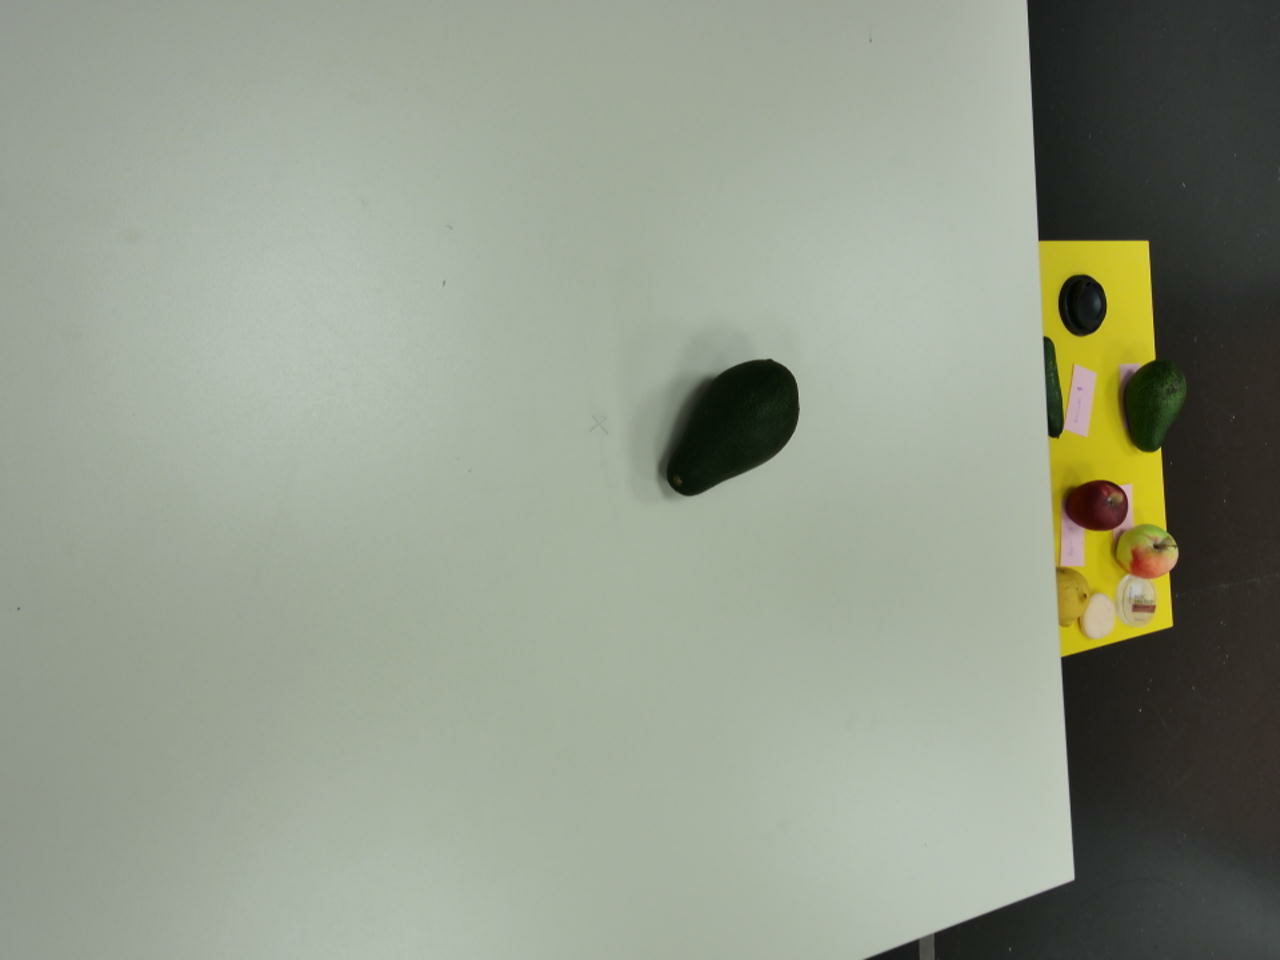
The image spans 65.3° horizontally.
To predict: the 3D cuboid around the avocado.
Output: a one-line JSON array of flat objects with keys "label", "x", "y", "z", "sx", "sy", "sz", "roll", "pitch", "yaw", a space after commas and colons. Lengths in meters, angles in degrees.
[{"label": "avocado", "x": 0.065, "y": -0.040, "z": 0.706, "sx": 0.109, "sy": 0.071, "sz": 0.072, "roll": -30, "pitch": 104, "yaw": -24}]
